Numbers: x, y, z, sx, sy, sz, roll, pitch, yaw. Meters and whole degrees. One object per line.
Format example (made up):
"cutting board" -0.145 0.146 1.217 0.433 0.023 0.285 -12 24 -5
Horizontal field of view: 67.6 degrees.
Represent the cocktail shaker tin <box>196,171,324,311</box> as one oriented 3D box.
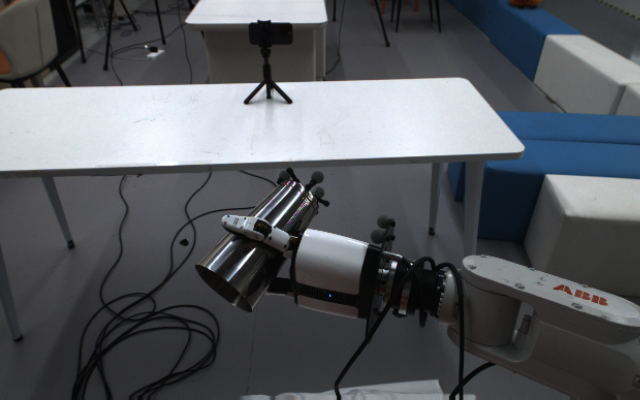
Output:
"cocktail shaker tin" -0.076 0.049 0.648 0.093 0.093 0.170 23 57 27
